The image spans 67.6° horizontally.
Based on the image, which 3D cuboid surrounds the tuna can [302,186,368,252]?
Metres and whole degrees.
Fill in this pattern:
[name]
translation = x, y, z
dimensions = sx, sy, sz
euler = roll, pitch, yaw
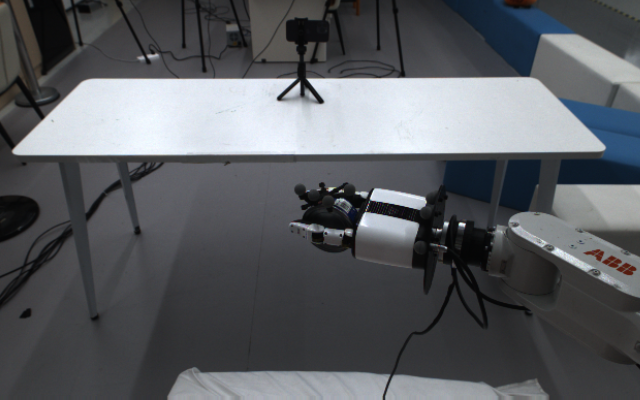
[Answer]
[tuna can]
translation = 0.020, 0.036, 0.734
dimensions = 0.085, 0.085, 0.034
euler = 14, 34, 17
